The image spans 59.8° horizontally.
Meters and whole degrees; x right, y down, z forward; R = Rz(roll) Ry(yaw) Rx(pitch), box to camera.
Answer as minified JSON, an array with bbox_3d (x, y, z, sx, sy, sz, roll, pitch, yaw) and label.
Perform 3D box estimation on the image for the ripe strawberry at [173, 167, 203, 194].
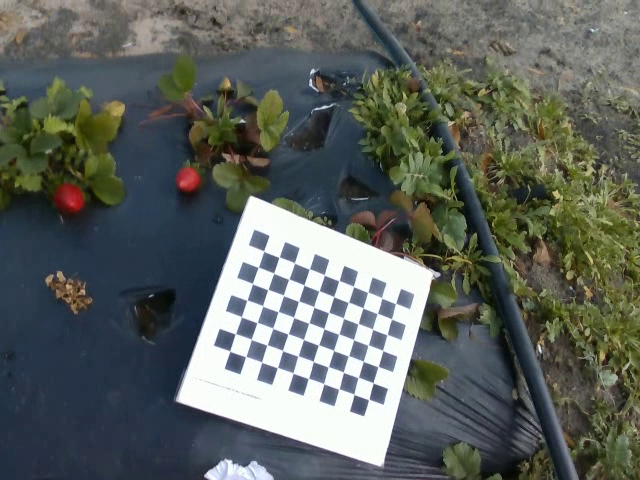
[{"bbox_3d":[-0.194,-0.083,0.747,0.041,0.044,0.052,-33,19,25],"label":"ripe strawberry"}]
